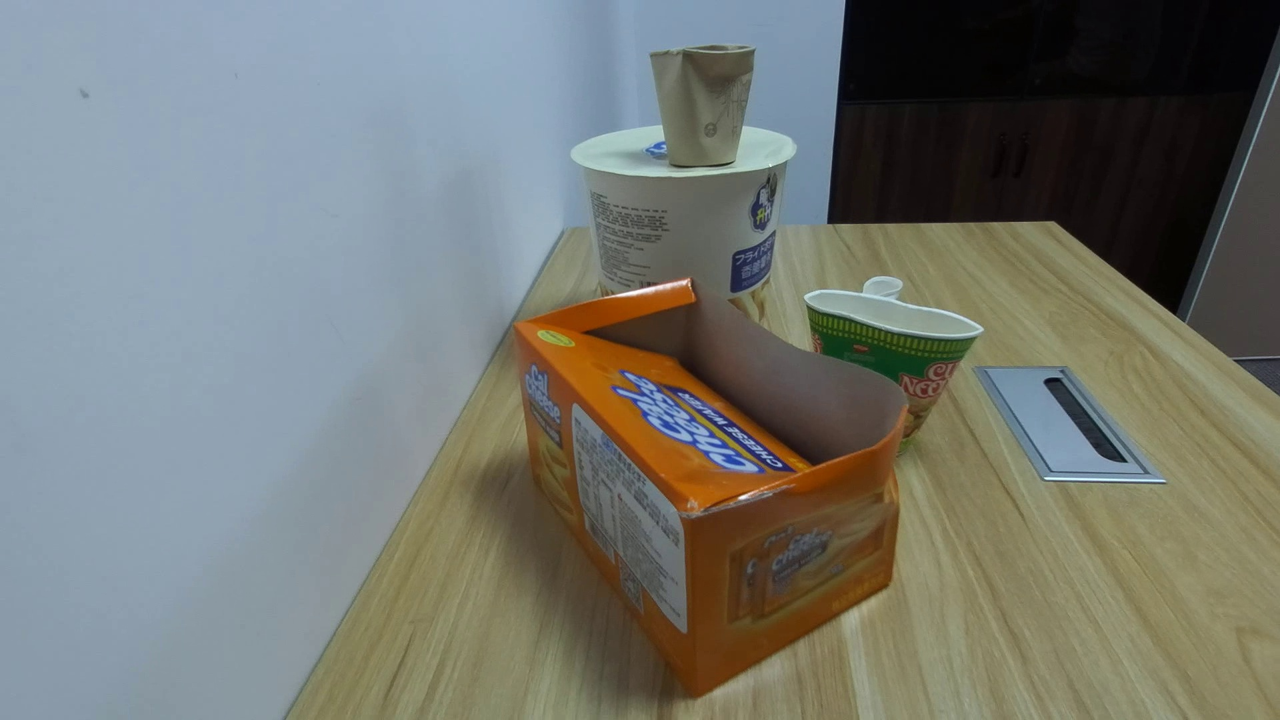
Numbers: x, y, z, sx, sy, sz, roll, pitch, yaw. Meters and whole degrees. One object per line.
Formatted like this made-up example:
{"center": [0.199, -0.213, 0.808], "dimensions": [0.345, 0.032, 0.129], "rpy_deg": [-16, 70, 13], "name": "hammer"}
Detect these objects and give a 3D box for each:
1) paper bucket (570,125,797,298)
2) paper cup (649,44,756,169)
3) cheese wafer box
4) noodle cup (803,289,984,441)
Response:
{"center": [0.040, -0.095, 0.639], "dimensions": [0.198, 0.195, 0.198], "rpy_deg": [-2, 29, 1], "name": "paper bucket"}
{"center": [0.049, -0.194, 0.538], "dimensions": [0.066, 0.084, 0.071], "rpy_deg": [-13, 26, -21], "name": "paper cup"}
{"center": [0.037, 0.057, 0.439], "dimensions": [0.153, 0.132, 0.229], "rpy_deg": [-16, 31, -25], "name": "cheese wafer box"}
{"center": [0.175, 0.008, 0.522], "dimensions": [0.070, 0.111, 0.114], "rpy_deg": [-23, 37, -26], "name": "noodle cup"}
